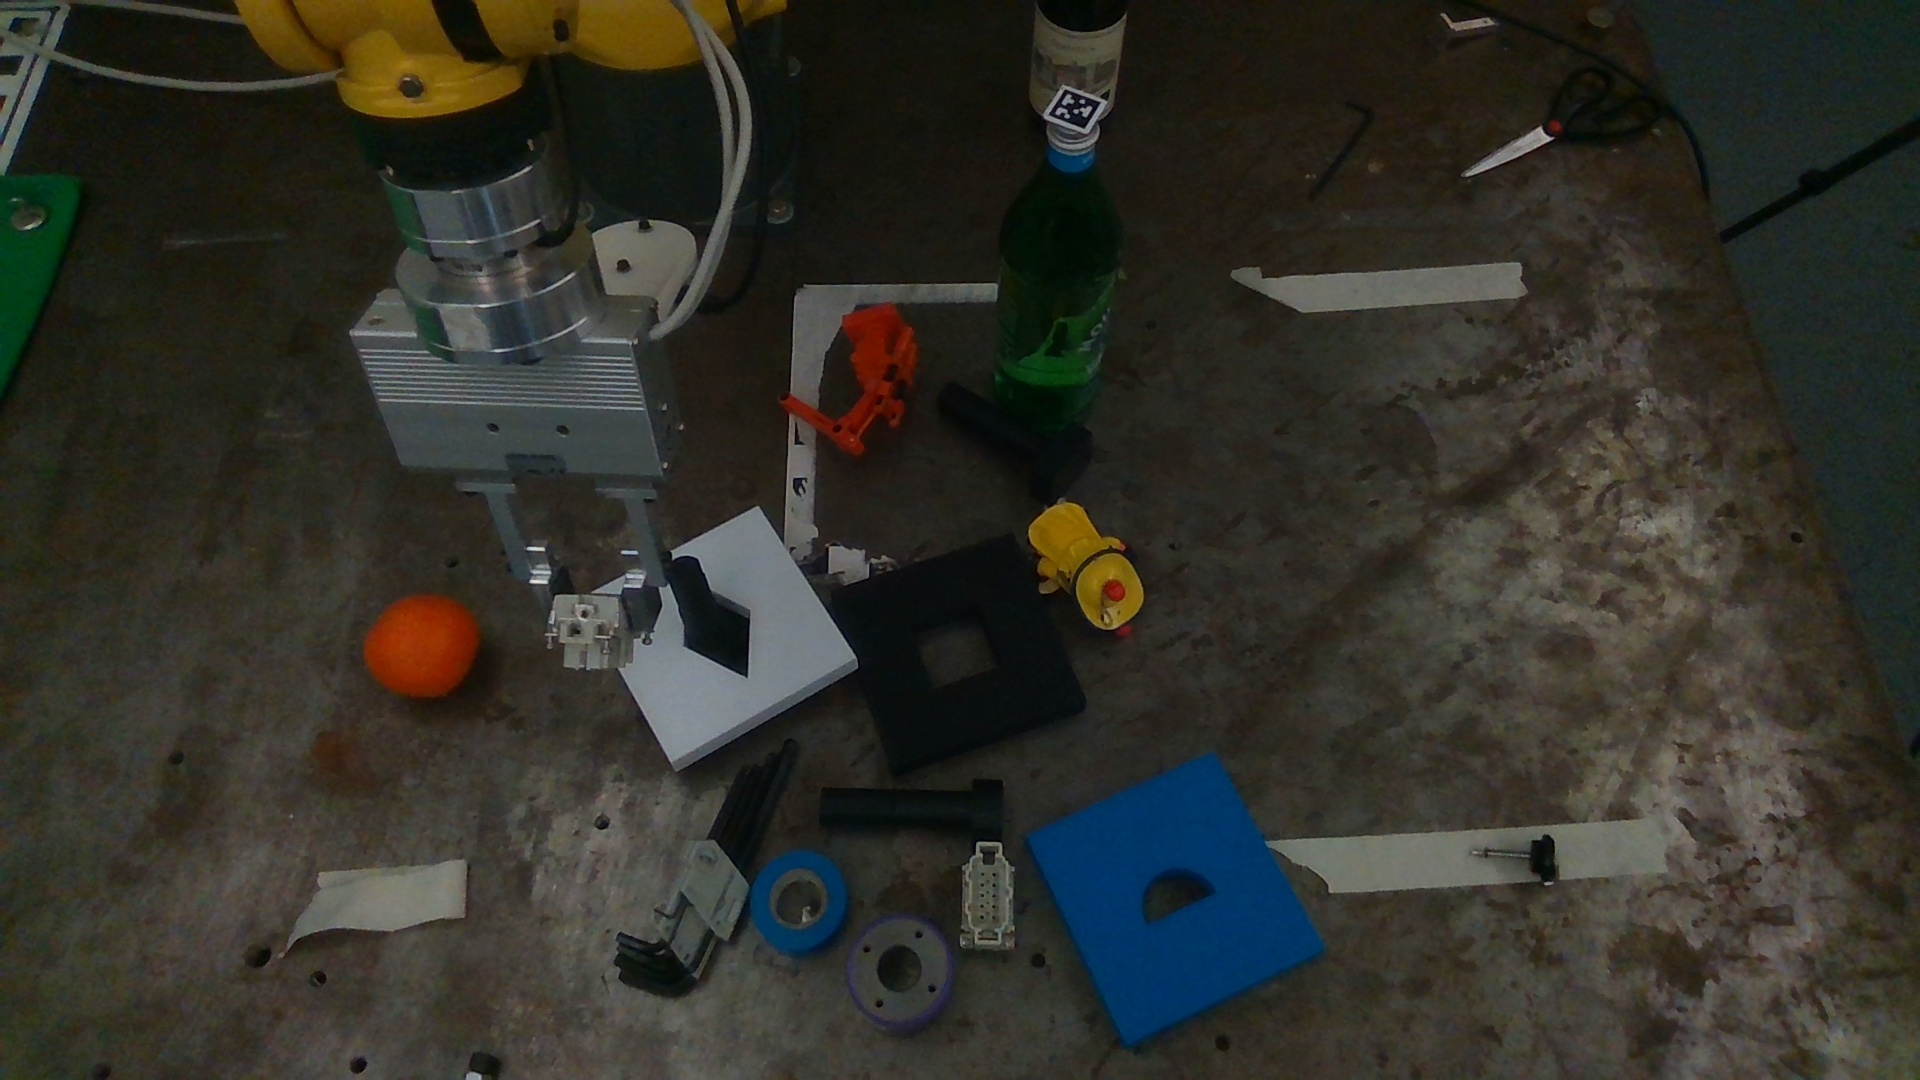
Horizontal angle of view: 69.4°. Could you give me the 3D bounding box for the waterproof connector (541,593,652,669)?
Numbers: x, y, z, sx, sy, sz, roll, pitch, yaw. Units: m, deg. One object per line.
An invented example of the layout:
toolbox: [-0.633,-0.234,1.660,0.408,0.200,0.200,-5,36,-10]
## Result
waterproof connector: [-0.191,0.047,0.732,0.037,0.069,0.038,0,88,8]
